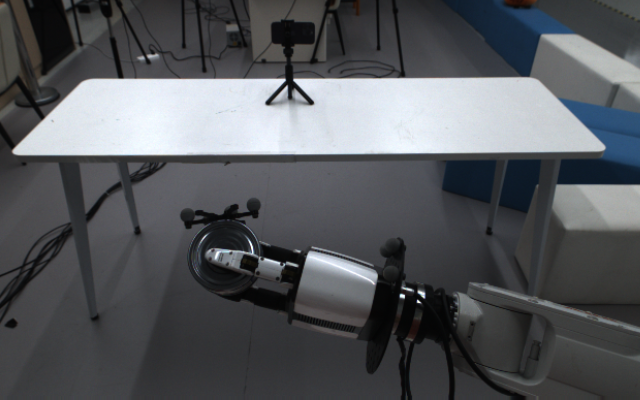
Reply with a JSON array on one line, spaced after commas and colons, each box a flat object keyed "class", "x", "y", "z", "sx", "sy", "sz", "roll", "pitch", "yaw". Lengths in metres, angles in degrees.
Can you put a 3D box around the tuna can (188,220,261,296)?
[{"class": "tuna can", "x": -0.105, "y": 0.073, "z": 0.564, "sx": 0.085, "sy": 0.034, "sz": 0.085, "roll": 0, "pitch": 72, "yaw": -1}]
